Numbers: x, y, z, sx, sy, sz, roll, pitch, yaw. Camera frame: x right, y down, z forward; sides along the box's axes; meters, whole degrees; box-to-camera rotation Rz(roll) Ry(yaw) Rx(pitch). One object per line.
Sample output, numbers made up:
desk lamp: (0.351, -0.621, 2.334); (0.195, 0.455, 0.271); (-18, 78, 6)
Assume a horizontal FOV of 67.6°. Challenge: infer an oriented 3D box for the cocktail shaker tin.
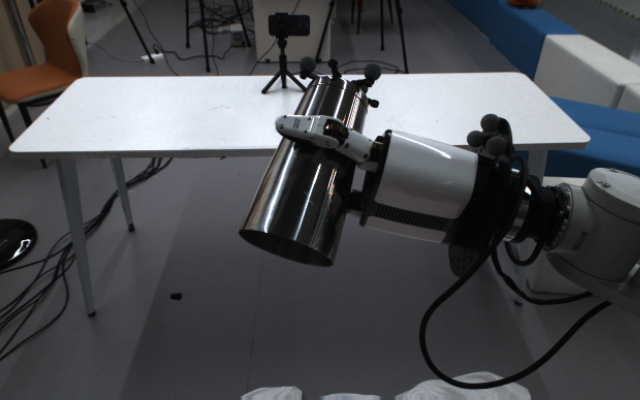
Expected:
cocktail shaker tin: (-0.006, -0.031, 0.470); (0.093, 0.093, 0.170); (13, 70, 15)
